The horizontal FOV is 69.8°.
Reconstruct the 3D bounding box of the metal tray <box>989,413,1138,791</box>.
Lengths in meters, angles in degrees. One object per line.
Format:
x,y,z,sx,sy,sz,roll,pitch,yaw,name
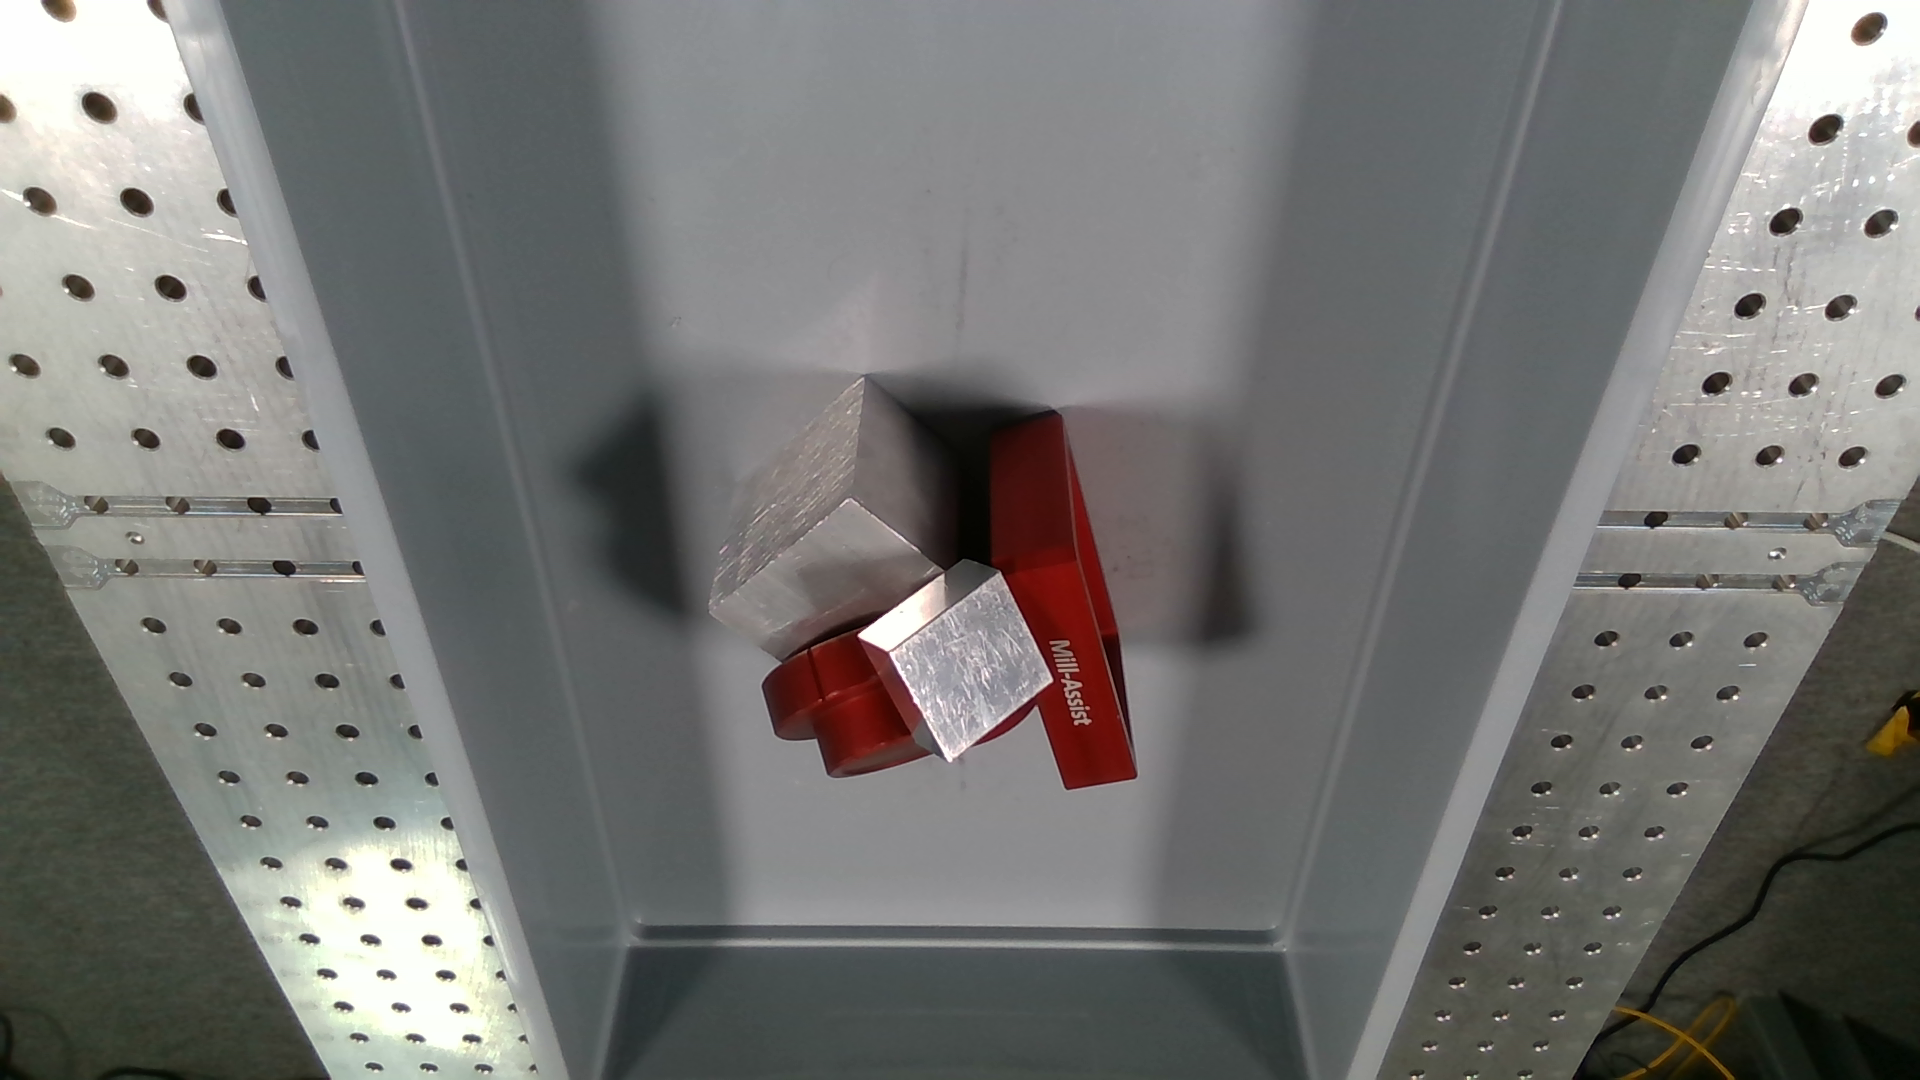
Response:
0.042,0.026,0.557,0.030,0.090,0.130,-11,129,10,metal tray

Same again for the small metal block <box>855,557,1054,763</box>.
-0.001,0.042,0.493,0.050,0.025,0.050,-36,115,-20,small metal block

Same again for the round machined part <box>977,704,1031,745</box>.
-0.012,0.045,0.606,0.098,0.042,0.098,0,130,0,round machined part

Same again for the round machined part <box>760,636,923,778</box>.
-0.026,0.064,0.545,0.098,0.042,0.098,-17,165,-5,round machined part

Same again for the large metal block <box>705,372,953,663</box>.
-0.049,-0.005,0.538,0.080,0.080,0.050,-36,121,27,large metal block
